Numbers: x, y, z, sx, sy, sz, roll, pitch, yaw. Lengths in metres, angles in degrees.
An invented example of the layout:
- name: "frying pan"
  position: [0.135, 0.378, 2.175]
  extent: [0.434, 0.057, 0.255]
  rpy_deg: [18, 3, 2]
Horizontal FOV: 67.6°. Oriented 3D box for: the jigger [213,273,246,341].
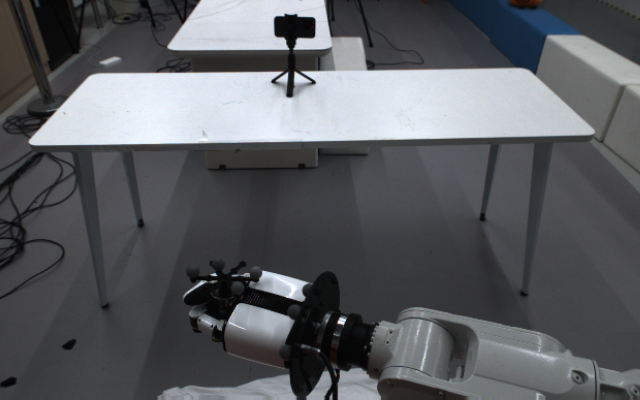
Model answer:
- name: "jigger"
  position: [-0.123, 0.148, 0.659]
  extent: [0.043, 0.071, 0.043]
  rpy_deg: [3, 25, -1]
